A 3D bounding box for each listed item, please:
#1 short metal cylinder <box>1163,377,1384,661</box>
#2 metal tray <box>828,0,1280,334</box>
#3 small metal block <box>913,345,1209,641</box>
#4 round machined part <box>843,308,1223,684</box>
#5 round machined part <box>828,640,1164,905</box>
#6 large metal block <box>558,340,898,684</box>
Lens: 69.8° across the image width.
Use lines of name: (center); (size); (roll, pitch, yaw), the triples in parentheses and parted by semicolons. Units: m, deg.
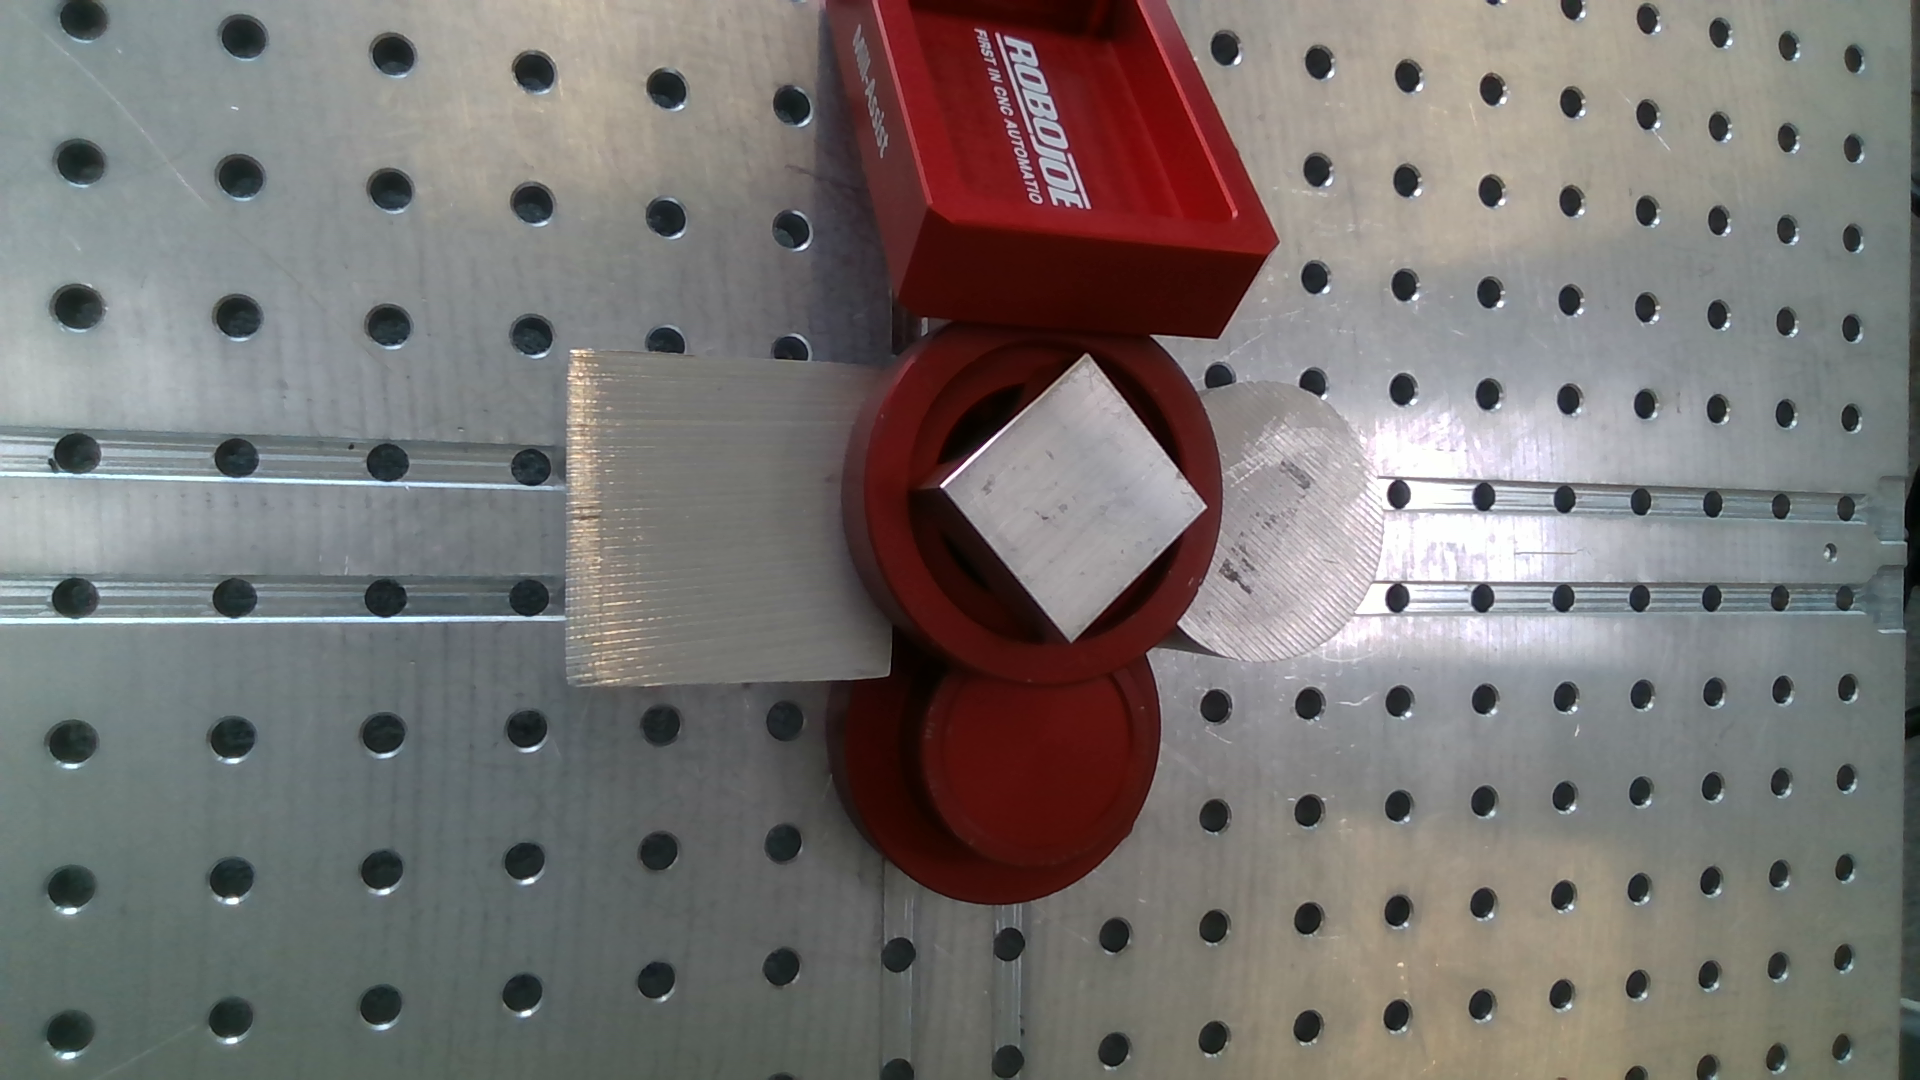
short metal cylinder: (0.077, -0.006, 0.411); (0.080, 0.050, 0.080); (0, 90, -20)
metal tray: (0.020, -0.113, 0.362); (0.090, 0.030, 0.130); (1, 53, -20)
small metal block: (0.024, -0.011, 0.340); (0.050, 0.025, 0.050); (-44, 104, -15)
round machined part: (0.016, -0.013, 0.363); (0.098, 0.042, 0.098); (0, 90, -20)
round machined part: (0.015, 0.055, 0.392); (0.098, 0.042, 0.098); (0, 90, -20)
large metal block: (-0.062, -0.006, 0.358); (0.080, 0.050, 0.080); (1, 90, -20)
